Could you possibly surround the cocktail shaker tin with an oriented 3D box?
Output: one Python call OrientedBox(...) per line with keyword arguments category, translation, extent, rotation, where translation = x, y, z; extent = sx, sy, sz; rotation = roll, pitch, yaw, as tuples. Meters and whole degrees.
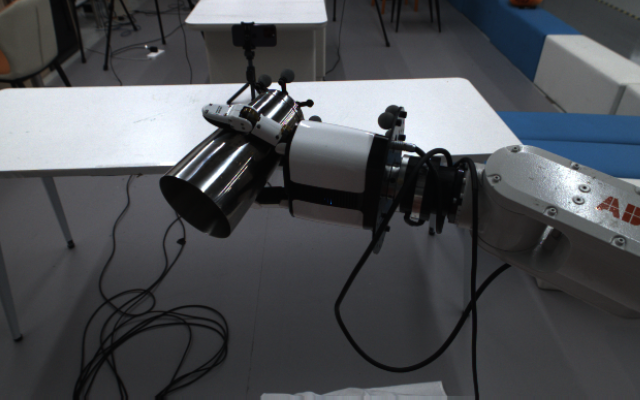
OrientedBox(category="cocktail shaker tin", translation=(-0.086, -0.054, 0.546), extent=(0.093, 0.093, 0.170), rotation=(19, 55, 22))
